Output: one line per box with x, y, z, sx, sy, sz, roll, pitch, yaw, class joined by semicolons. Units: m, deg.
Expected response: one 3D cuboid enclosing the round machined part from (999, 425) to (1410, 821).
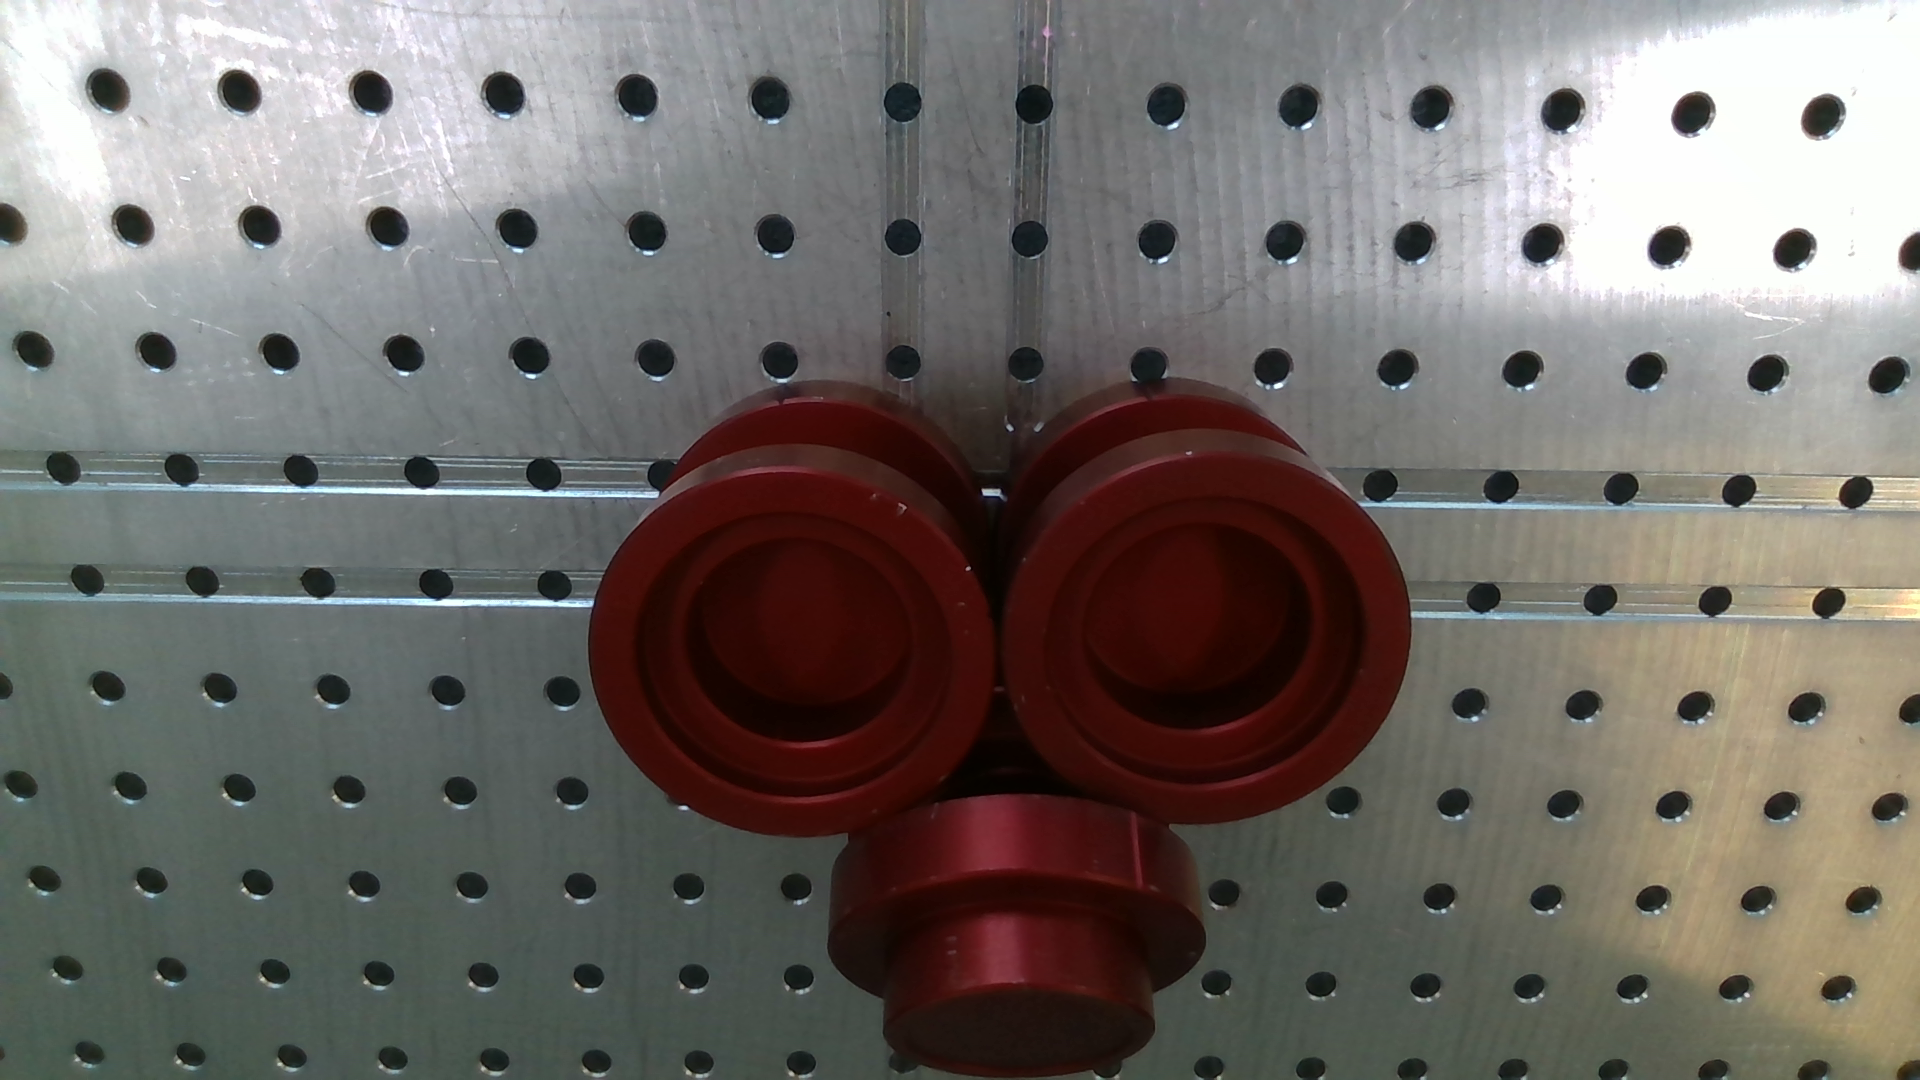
0.058;0.018;0.348;0.098;0.042;0.098;0;110;0;round machined part

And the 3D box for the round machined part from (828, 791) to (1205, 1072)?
0.015;0.107;0.358;0.098;0.042;0.098;0;142;0;round machined part

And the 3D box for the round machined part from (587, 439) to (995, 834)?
-0.040;0.021;0.349;0.098;0.042;0.098;0;110;0;round machined part

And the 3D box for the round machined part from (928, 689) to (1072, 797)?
0.015;0.089;0.419;0.098;0.042;0.098;0;110;0;round machined part

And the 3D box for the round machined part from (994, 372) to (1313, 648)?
0.059;0.005;0.389;0.098;0.042;0.098;0;110;0;round machined part

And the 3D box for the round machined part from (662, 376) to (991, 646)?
-0.040;0.006;0.389;0.098;0.042;0.098;0;110;0;round machined part
